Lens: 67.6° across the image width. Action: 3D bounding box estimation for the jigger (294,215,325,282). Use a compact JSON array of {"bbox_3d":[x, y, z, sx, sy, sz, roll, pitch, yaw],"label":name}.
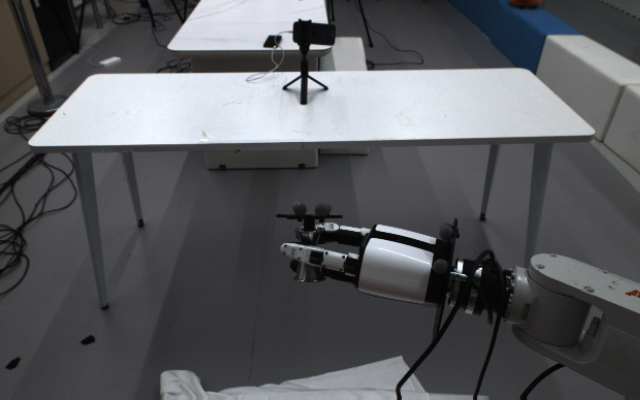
[{"bbox_3d":[-0.014,0.072,0.653,0.043,0.071,0.043,-1,2,0],"label":"jigger"}]
